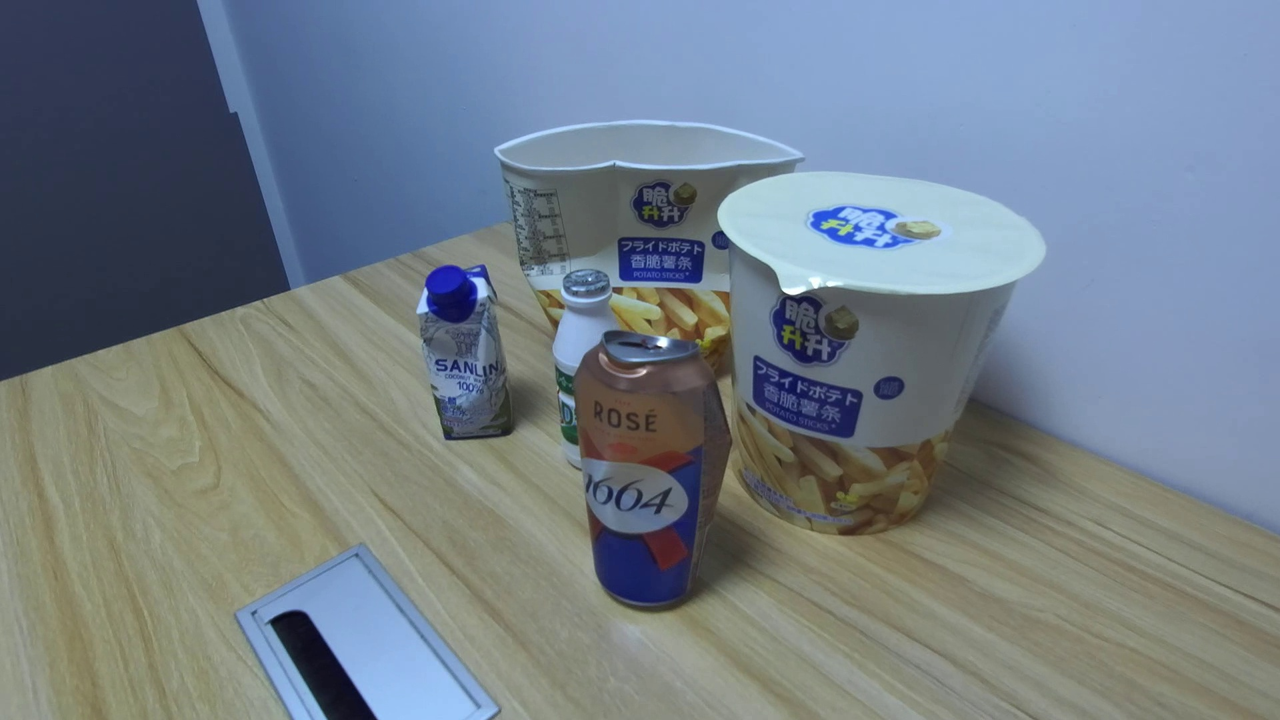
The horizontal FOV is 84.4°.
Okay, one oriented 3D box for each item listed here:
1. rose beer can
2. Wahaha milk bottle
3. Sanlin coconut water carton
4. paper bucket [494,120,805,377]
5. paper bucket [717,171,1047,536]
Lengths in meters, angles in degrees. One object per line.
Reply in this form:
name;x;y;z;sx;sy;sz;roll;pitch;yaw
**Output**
rose beer can;0.005;0.064;0.406;0.069;0.168;0.069;-14;32;-24
Wahaha milk bottle;-0.034;0.007;0.504;0.053;0.147;0.053;1;36;0
Sanlin coconut water carton;-0.135;-0.011;0.542;0.061;0.144;0.069;-4;33;-3
paper bucket;0.009;-0.090;0.605;0.218;0.199;0.147;-17;37;-23
paper bucket;0.144;-0.004;0.480;0.198;0.195;0.198;0;33;0
